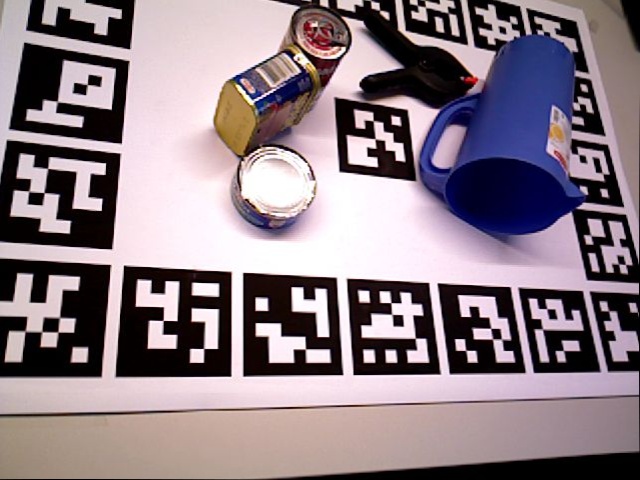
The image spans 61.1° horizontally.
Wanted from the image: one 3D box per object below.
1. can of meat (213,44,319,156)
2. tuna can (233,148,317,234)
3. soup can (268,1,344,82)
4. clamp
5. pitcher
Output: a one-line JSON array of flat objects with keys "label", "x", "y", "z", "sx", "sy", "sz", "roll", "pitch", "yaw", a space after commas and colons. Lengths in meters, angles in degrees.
[{"label": "can of meat", "x": -0.059, "y": -0.141, "z": 0.564, "sx": 0.082, "sy": 0.104, "sz": 0.058, "roll": -36, "pitch": 87, "yaw": -24}, {"label": "tuna can", "x": -0.049, "y": -0.051, "z": 0.578, "sx": 0.085, "sy": 0.034, "sz": 0.085, "roll": 6, "pitch": 71, "yaw": -19}, {"label": "soup can", "x": -0.022, "y": -0.202, "z": 0.604, "sx": 0.067, "sy": 0.104, "sz": 0.067, "roll": 5, "pitch": 71, "yaw": -17}, {"label": "clamp", "x": 0.104, "y": -0.234, "z": 0.710, "sx": 0.163, "sy": 0.037, "sz": 0.121, "roll": 6, "pitch": 65, "yaw": -22}, {"label": "pitcher", "x": 0.239, "y": -0.145, "z": 0.659, "sx": 0.188, "sy": 0.136, "sz": 0.238, "roll": 13, "pitch": 58, "yaw": 8}]
